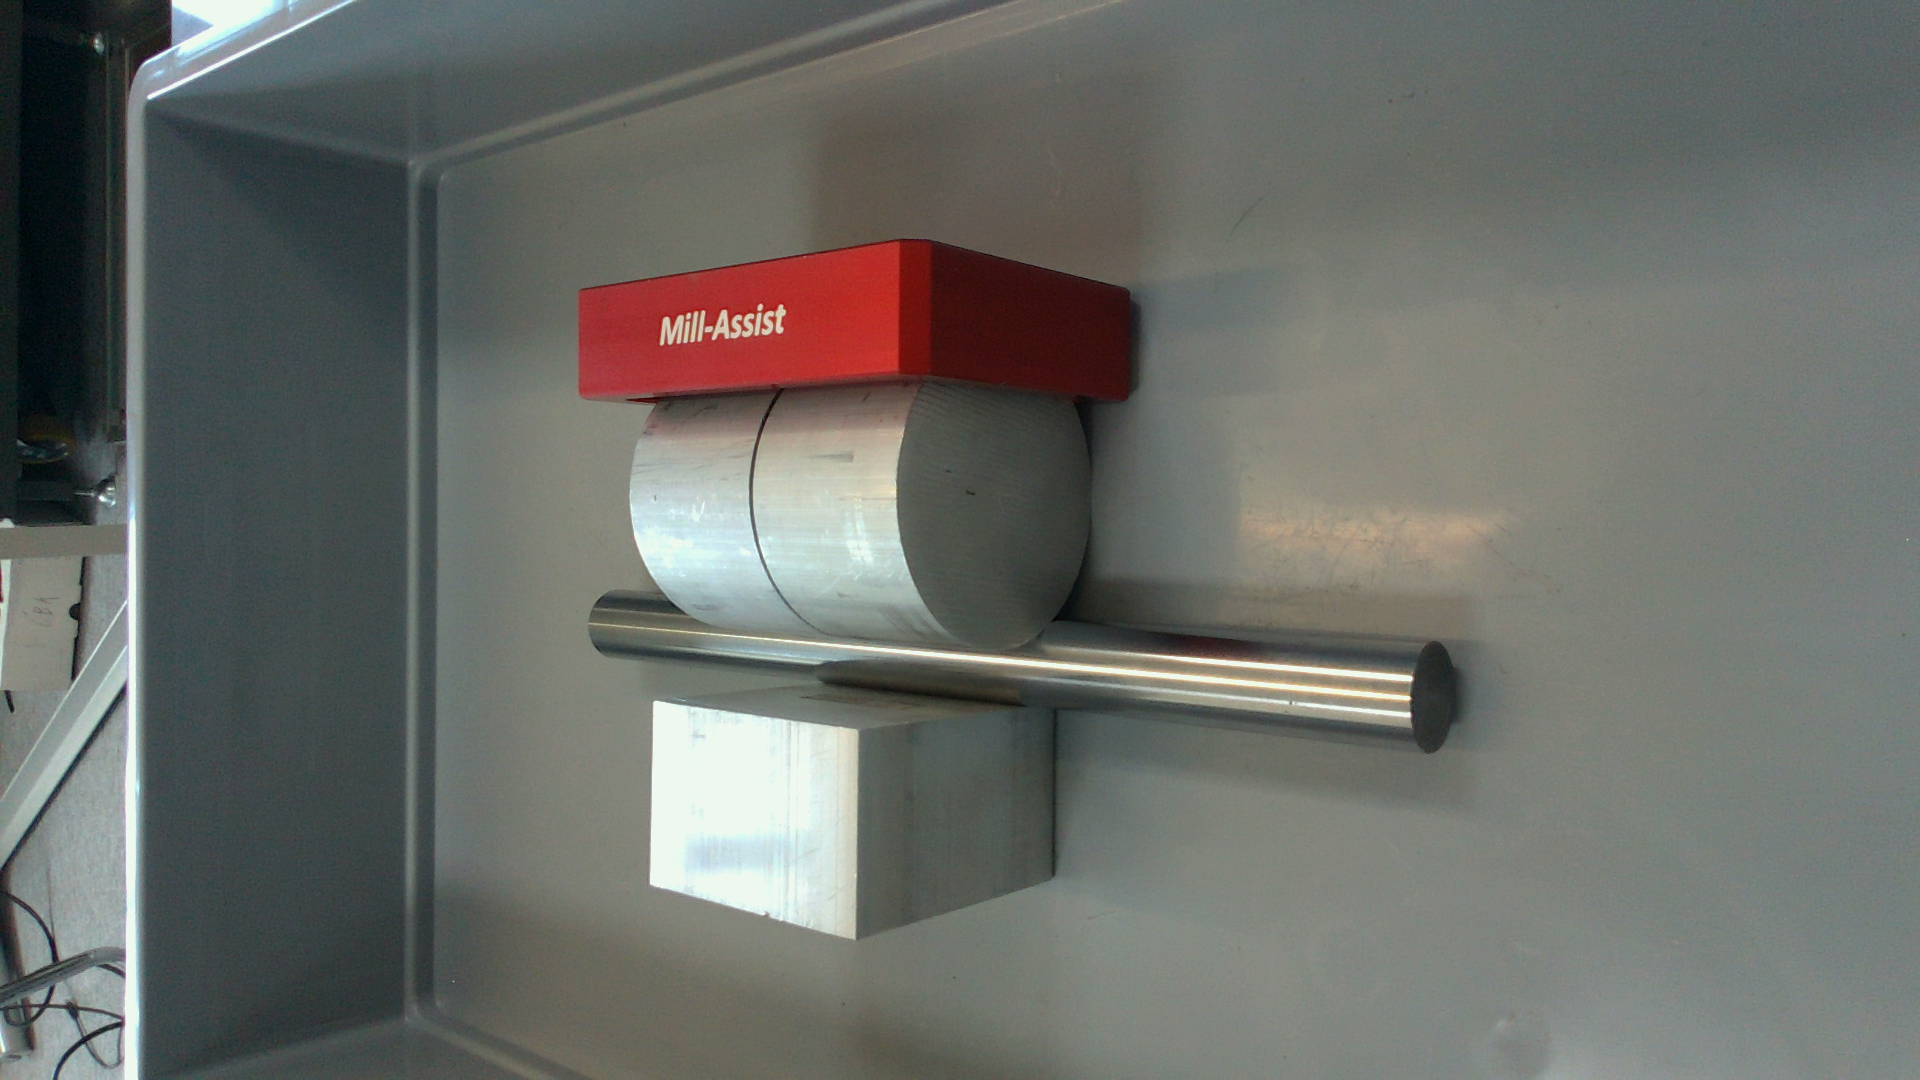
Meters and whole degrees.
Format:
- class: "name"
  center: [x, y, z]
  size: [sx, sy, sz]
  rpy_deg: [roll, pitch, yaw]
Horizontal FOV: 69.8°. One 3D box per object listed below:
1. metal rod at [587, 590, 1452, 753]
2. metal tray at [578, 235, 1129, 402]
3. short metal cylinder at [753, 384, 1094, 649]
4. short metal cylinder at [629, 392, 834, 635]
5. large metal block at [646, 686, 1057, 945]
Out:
- class: "metal rod"
  center: [-0.010, 0.032, 0.401]
  size: [0.299, 0.025, 0.025]
  rpy_deg: [1, 91, 40]
- class: "metal tray"
  center: [-0.031, -0.054, 0.376]
  size: [0.129, 0.090, 0.030]
  rpy_deg: [2, 91, 40]
- class: "short metal cylinder"
  center: [-0.008, -0.013, 0.365]
  size: [0.050, 0.080, 0.080]
  rpy_deg: [2, 91, 40]
- class: "short metal cylinder"
  center: [-0.047, -0.013, 0.398]
  size: [0.050, 0.080, 0.080]
  rpy_deg: [1, 91, 40]
- class: "large metal block"
  center: [-0.029, 0.070, 0.381]
  size: [0.080, 0.080, 0.050]
  rpy_deg: [1, 91, 40]
